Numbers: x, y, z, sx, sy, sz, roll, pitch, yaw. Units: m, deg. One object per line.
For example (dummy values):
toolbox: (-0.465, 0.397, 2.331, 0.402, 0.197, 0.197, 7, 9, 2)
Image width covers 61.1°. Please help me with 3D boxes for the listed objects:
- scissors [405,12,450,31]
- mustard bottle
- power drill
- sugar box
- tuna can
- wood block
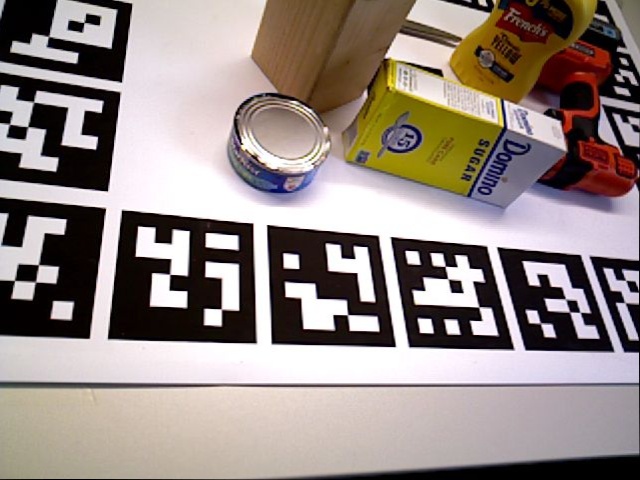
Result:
scissors: (0.057, -0.255, 0.598, 0.200, 0.016, 0.086, 7, 58, -18)
mustard bottle: (0.218, -0.225, 0.549, 0.096, 0.196, 0.057, 48, 58, 7)
power drill: (0.247, -0.149, 0.592, 0.183, 0.058, 0.184, 17, 66, -12)
sugar box: (0.127, -0.091, 0.496, 0.175, 0.095, 0.044, 17, 55, -14)
tuna can: (-0.035, -0.086, 0.461, 0.085, 0.034, 0.085, 9, 62, -18)
wood block: (0.019, -0.213, 0.459, 0.089, 0.211, 0.090, -25, 75, -30)
